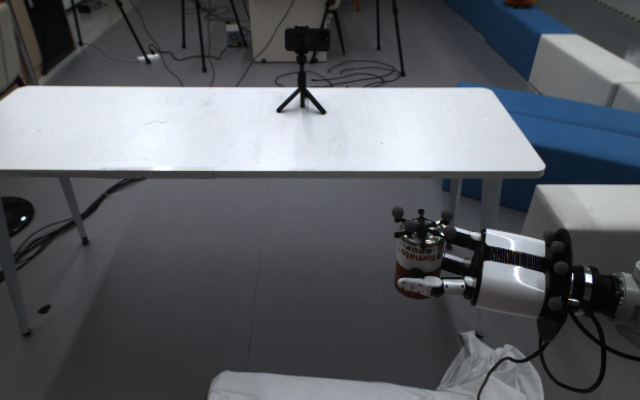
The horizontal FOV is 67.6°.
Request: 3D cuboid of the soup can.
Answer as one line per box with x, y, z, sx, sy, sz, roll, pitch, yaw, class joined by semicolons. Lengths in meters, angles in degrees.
0.147;0.083;0.709;0.067;0.101;0.067;-2;34;1;soup can
